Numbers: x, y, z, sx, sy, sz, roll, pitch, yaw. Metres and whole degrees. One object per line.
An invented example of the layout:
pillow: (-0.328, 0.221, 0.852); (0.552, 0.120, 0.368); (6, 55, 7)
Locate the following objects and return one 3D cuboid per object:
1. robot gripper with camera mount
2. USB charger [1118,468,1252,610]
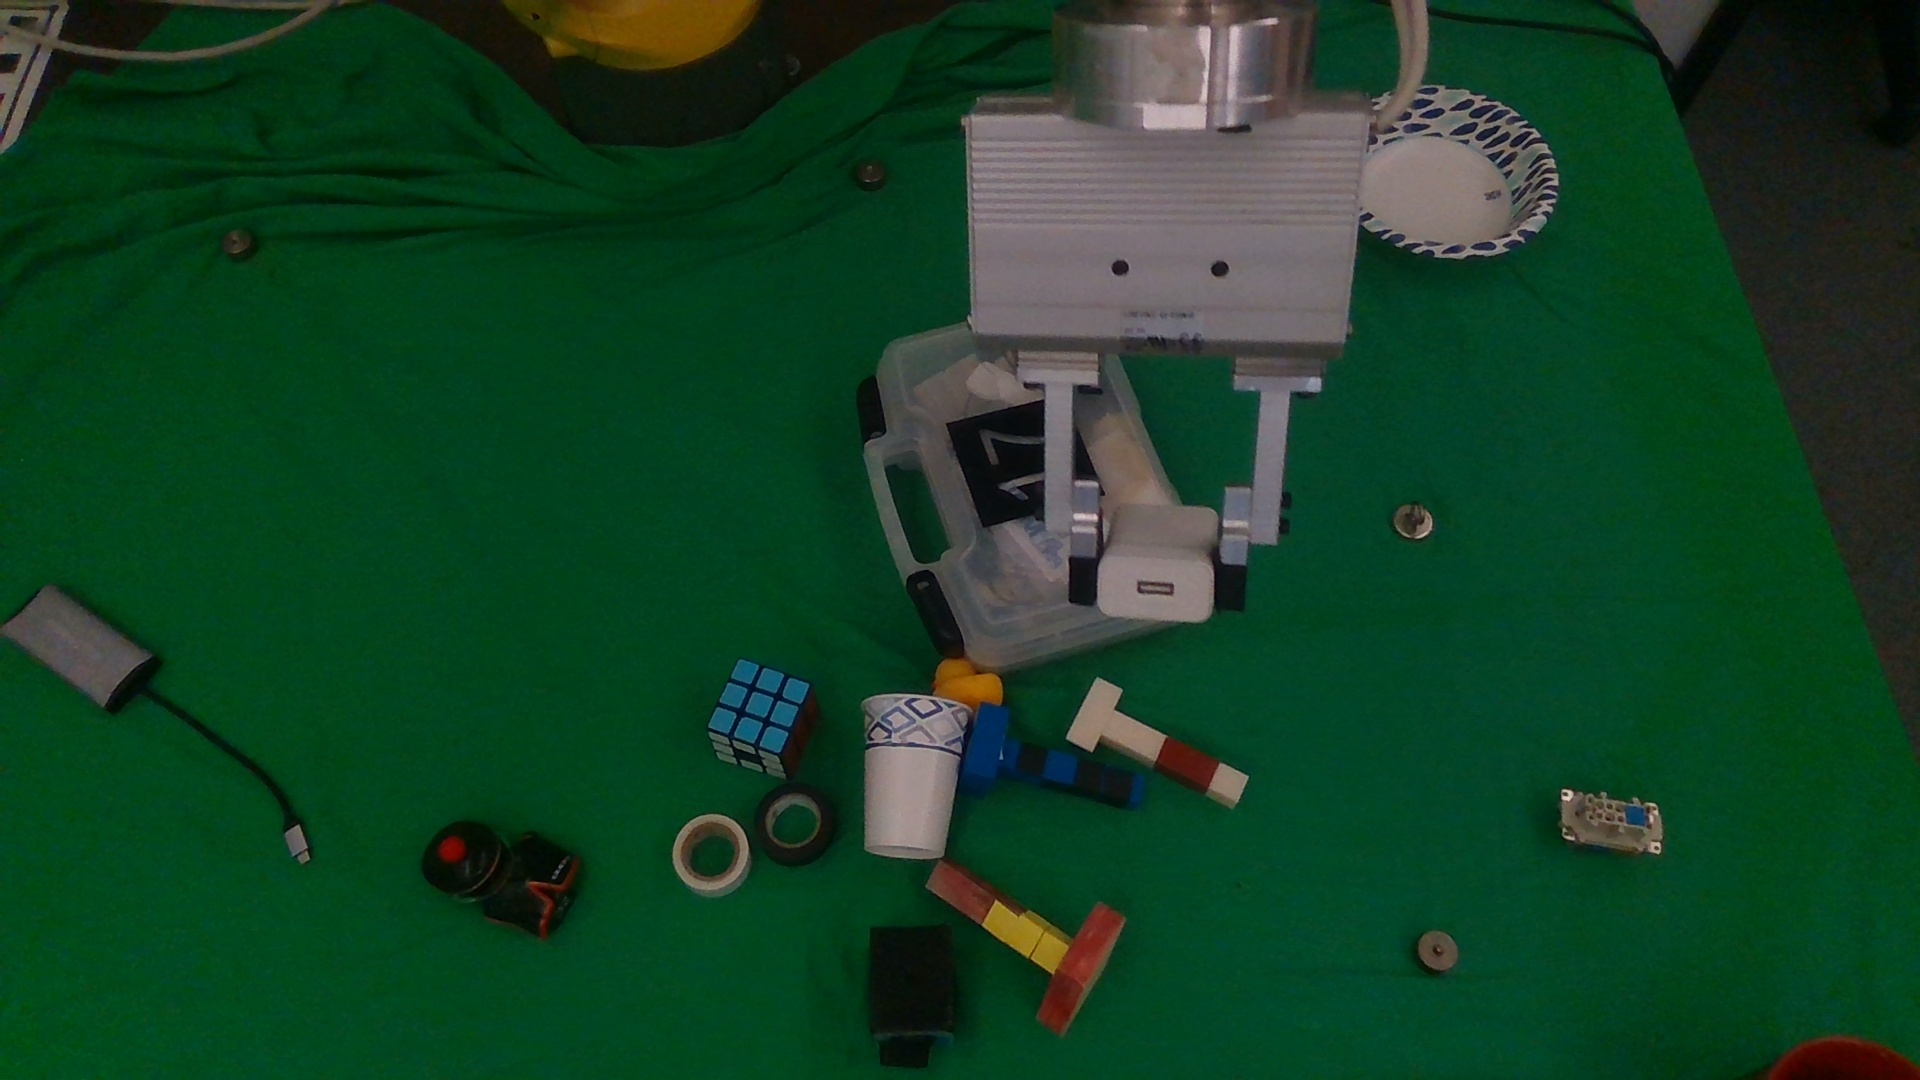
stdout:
robot gripper with camera mount: (0.084, -0.098, 0.539); (0.119, 0.158, 0.193); (-1, 28, 14)
USB charger: (0.080, -0.005, 0.524); (0.045, 0.029, 0.075); (-11, 31, 3)
